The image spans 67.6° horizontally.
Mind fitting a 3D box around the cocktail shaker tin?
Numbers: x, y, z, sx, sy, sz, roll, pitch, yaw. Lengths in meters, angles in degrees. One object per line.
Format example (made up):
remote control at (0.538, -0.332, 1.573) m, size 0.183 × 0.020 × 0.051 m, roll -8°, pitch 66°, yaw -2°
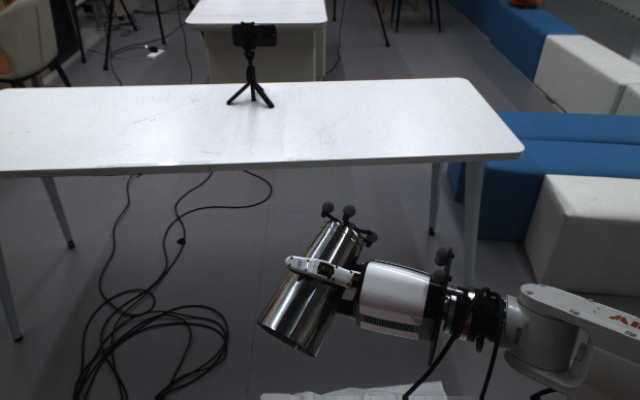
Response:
cocktail shaker tin at (-0.004, 0.113, 0.665) m, size 0.093 × 0.093 × 0.170 m, roll 20°, pitch 66°, yaw 24°
